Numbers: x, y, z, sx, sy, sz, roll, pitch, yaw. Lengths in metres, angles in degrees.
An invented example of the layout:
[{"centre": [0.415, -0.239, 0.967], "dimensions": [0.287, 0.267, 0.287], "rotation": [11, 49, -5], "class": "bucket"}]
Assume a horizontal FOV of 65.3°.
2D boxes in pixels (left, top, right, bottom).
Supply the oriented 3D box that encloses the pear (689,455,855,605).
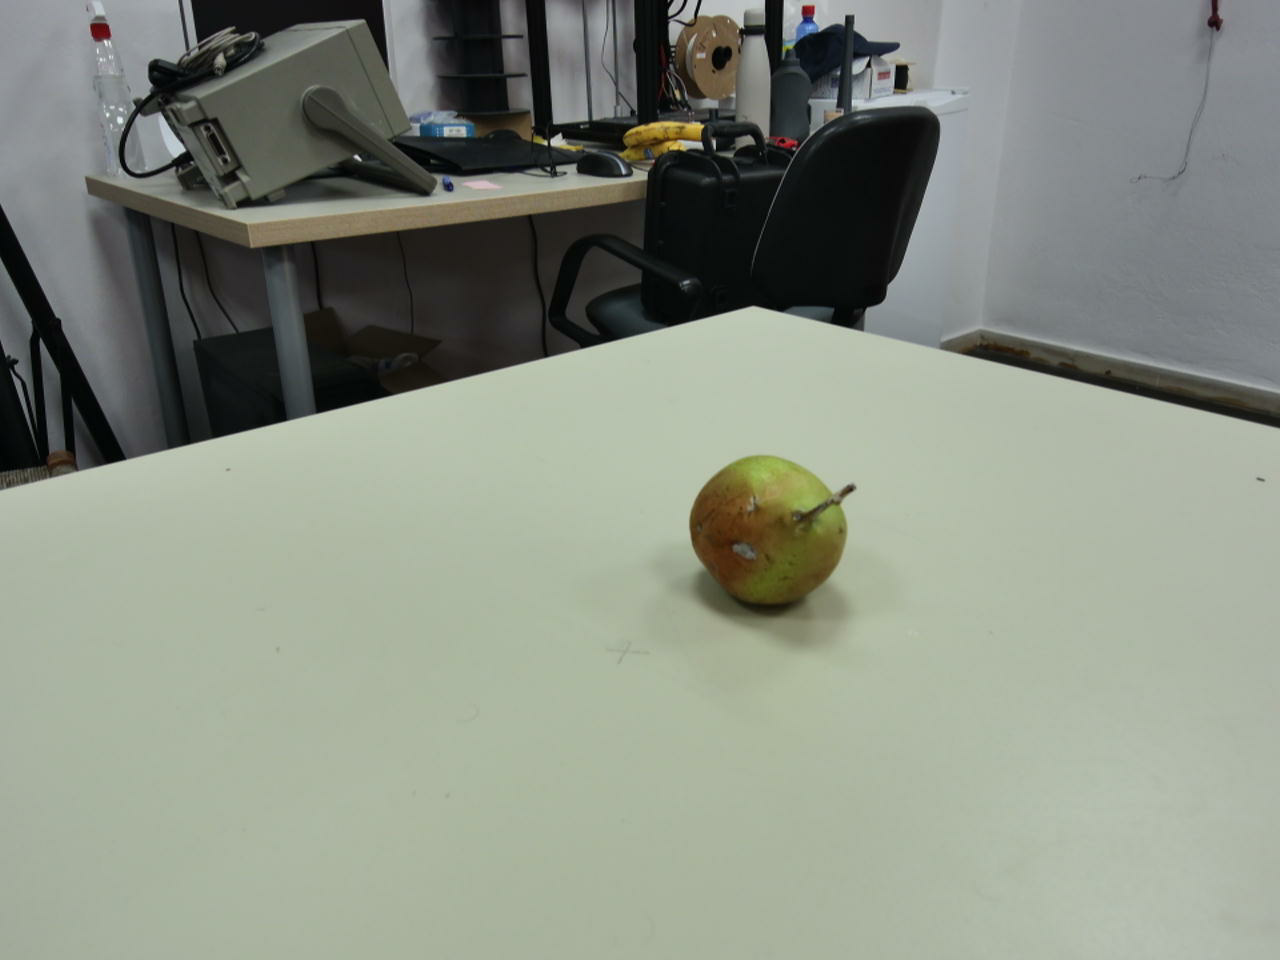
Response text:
[{"centre": [0.055, 0.019, 0.431], "dimensions": [0.068, 0.069, 0.070], "rotation": [5, 22, 11], "class": "pear"}]
